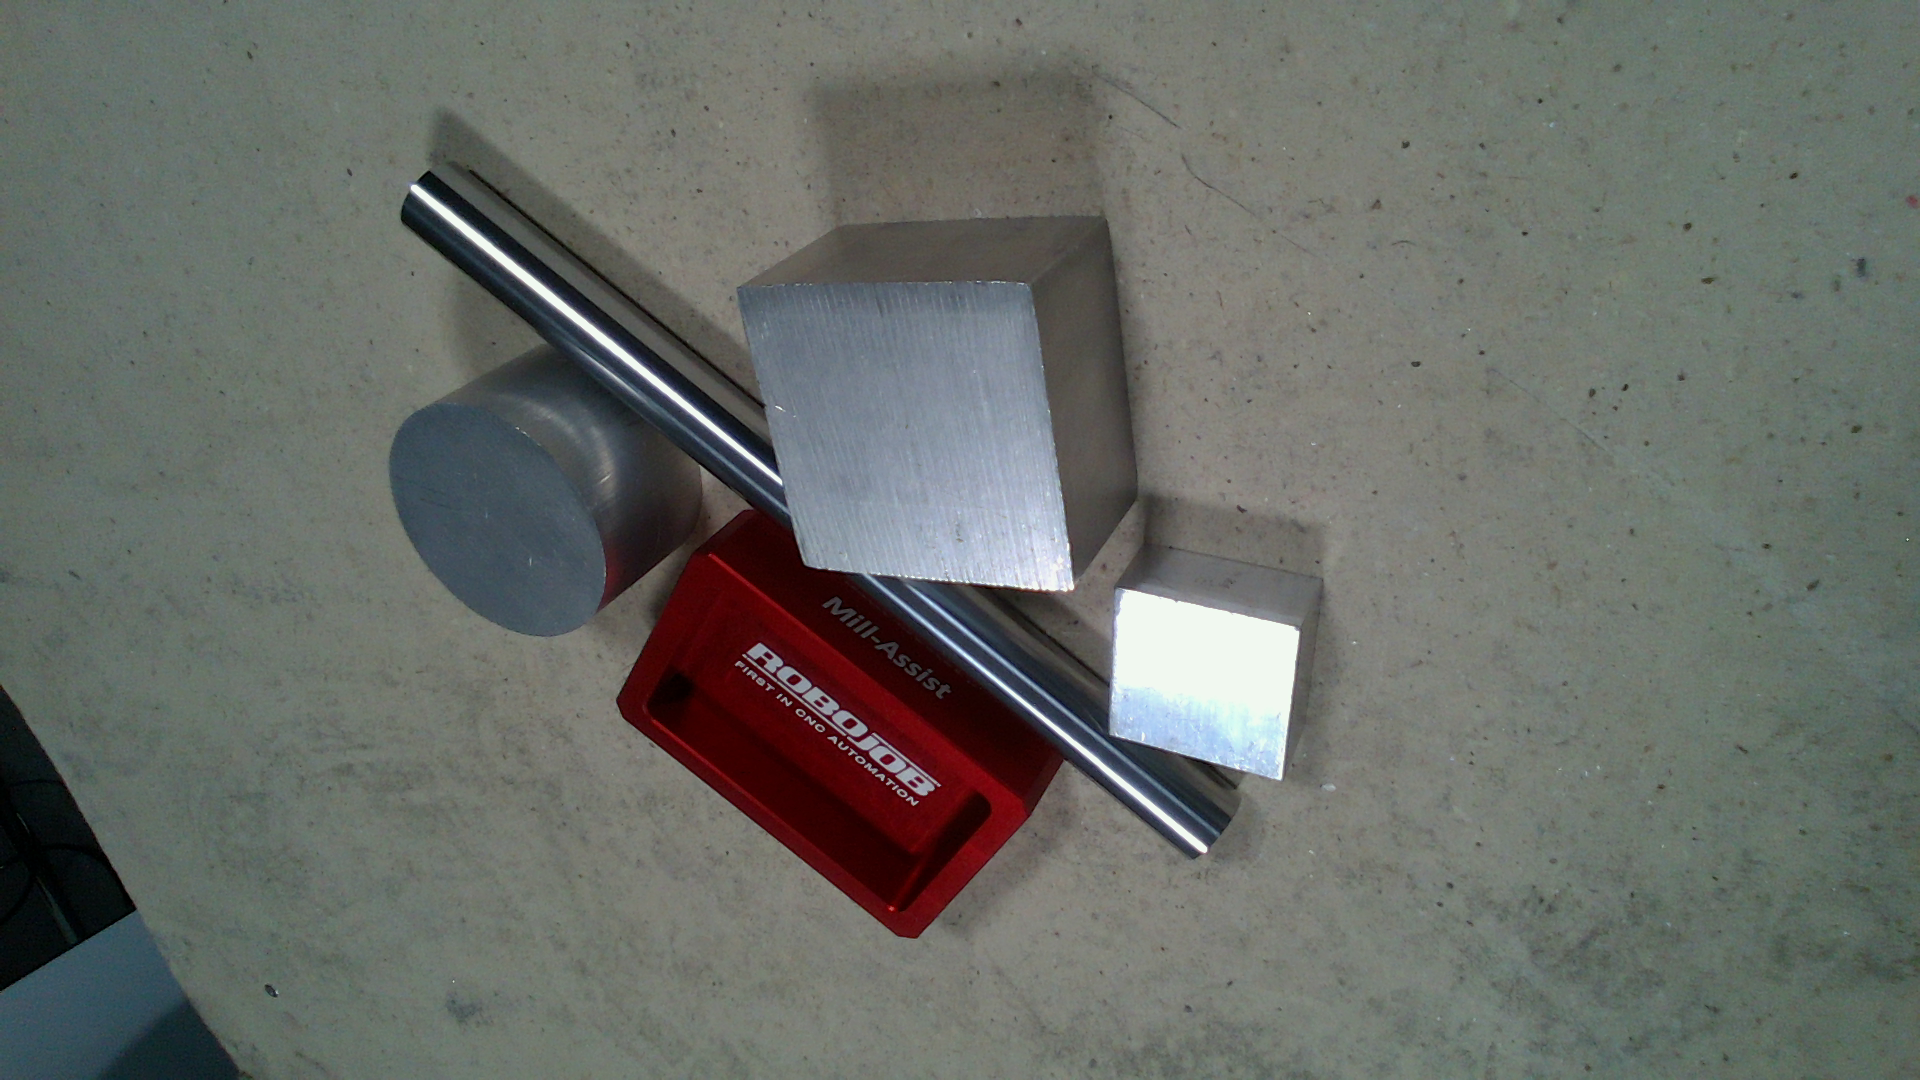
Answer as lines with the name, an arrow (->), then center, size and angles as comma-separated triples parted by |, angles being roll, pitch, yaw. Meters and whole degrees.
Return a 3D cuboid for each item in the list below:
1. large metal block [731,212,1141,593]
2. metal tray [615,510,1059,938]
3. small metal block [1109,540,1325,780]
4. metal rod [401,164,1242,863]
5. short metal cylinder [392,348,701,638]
large metal block -> -0.003, -0.037, 0.356 | 0.080, 0.050, 0.080 | 4, 120, 26
metal tray -> -0.042, 0.062, 0.451 | 0.130, 0.030, 0.090 | 38, 129, 3
small metal block -> 0.069, 0.032, 0.376 | 0.050, 0.025, 0.050 | 12, 124, 22
metal rod -> -0.042, -0.009, 0.409 | 0.300, 0.025, 0.025 | 39, 129, 2
short metal cylinder -> -0.130, -0.016, 0.437 | 0.080, 0.050, 0.080 | 13, 124, 21
